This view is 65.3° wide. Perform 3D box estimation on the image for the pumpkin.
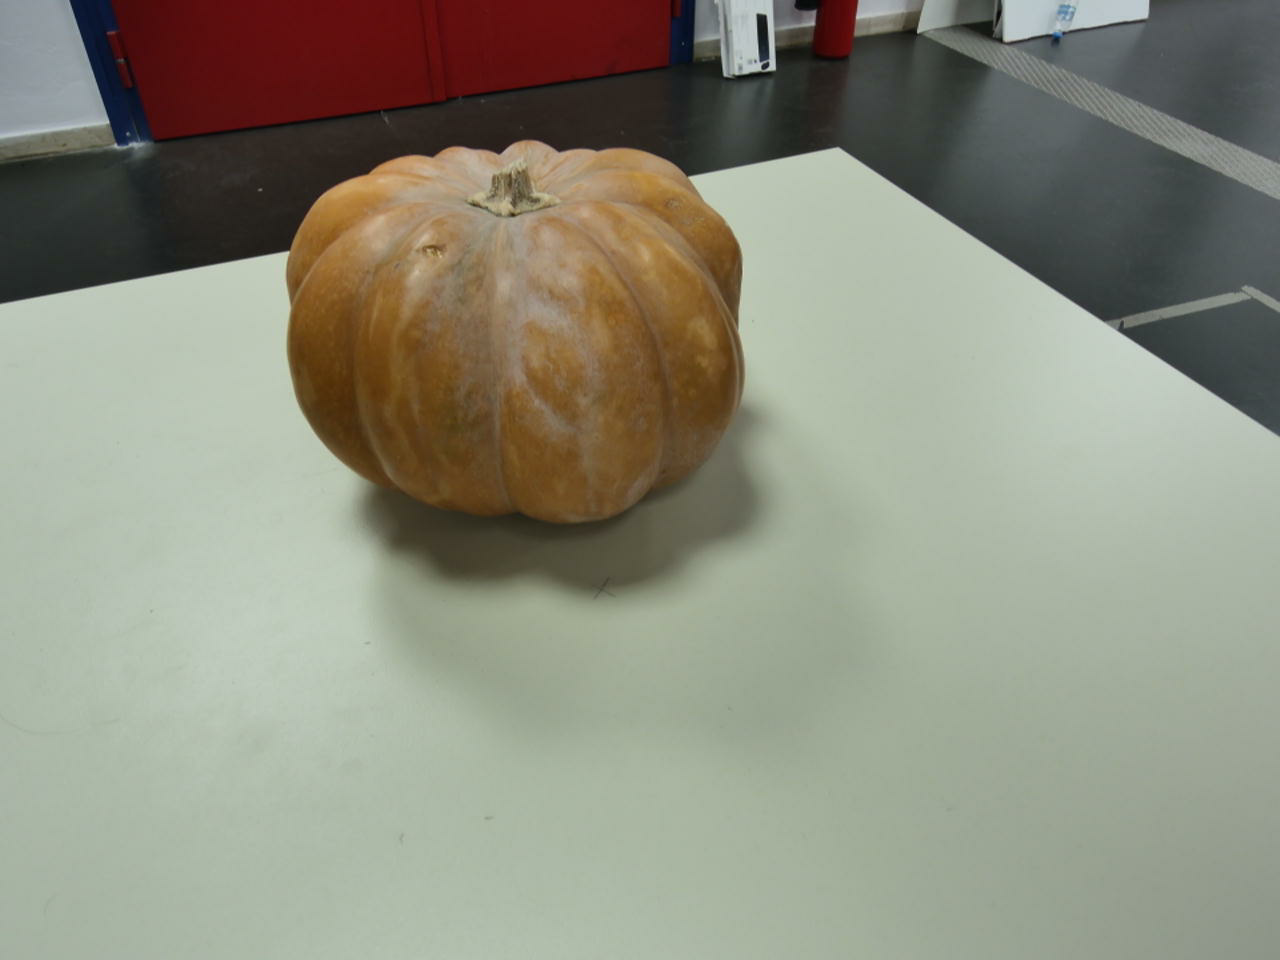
[{"bbox_3d":[-0.066,-0.089,0.570,0.277,0.181,0.277,0,39,0],"label":"pumpkin"}]
